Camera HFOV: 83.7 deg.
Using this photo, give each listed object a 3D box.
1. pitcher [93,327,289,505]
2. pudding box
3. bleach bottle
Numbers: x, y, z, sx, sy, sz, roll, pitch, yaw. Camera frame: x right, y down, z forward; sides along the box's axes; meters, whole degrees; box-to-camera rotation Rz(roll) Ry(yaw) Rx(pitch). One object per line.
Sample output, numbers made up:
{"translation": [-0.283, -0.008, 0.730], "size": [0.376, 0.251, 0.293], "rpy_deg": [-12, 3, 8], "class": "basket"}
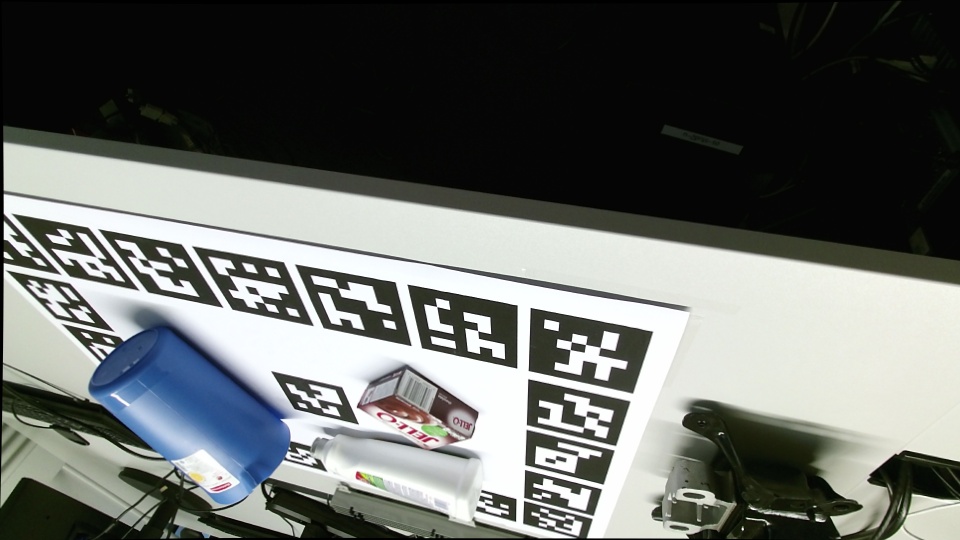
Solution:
{"translation": [-0.392, 0.192, 0.738], "size": [0.188, 0.133, 0.243], "rpy_deg": [22, 146, 55], "class": "pitcher"}
{"translation": [-0.082, 0.173, 0.630], "size": [0.114, 0.038, 0.090], "rpy_deg": [41, 139, -18], "class": "pudding box"}
{"translation": [-0.130, 0.293, 0.761], "size": [0.251, 0.067, 0.103], "rpy_deg": [7, 131, 17], "class": "bleach bottle"}
